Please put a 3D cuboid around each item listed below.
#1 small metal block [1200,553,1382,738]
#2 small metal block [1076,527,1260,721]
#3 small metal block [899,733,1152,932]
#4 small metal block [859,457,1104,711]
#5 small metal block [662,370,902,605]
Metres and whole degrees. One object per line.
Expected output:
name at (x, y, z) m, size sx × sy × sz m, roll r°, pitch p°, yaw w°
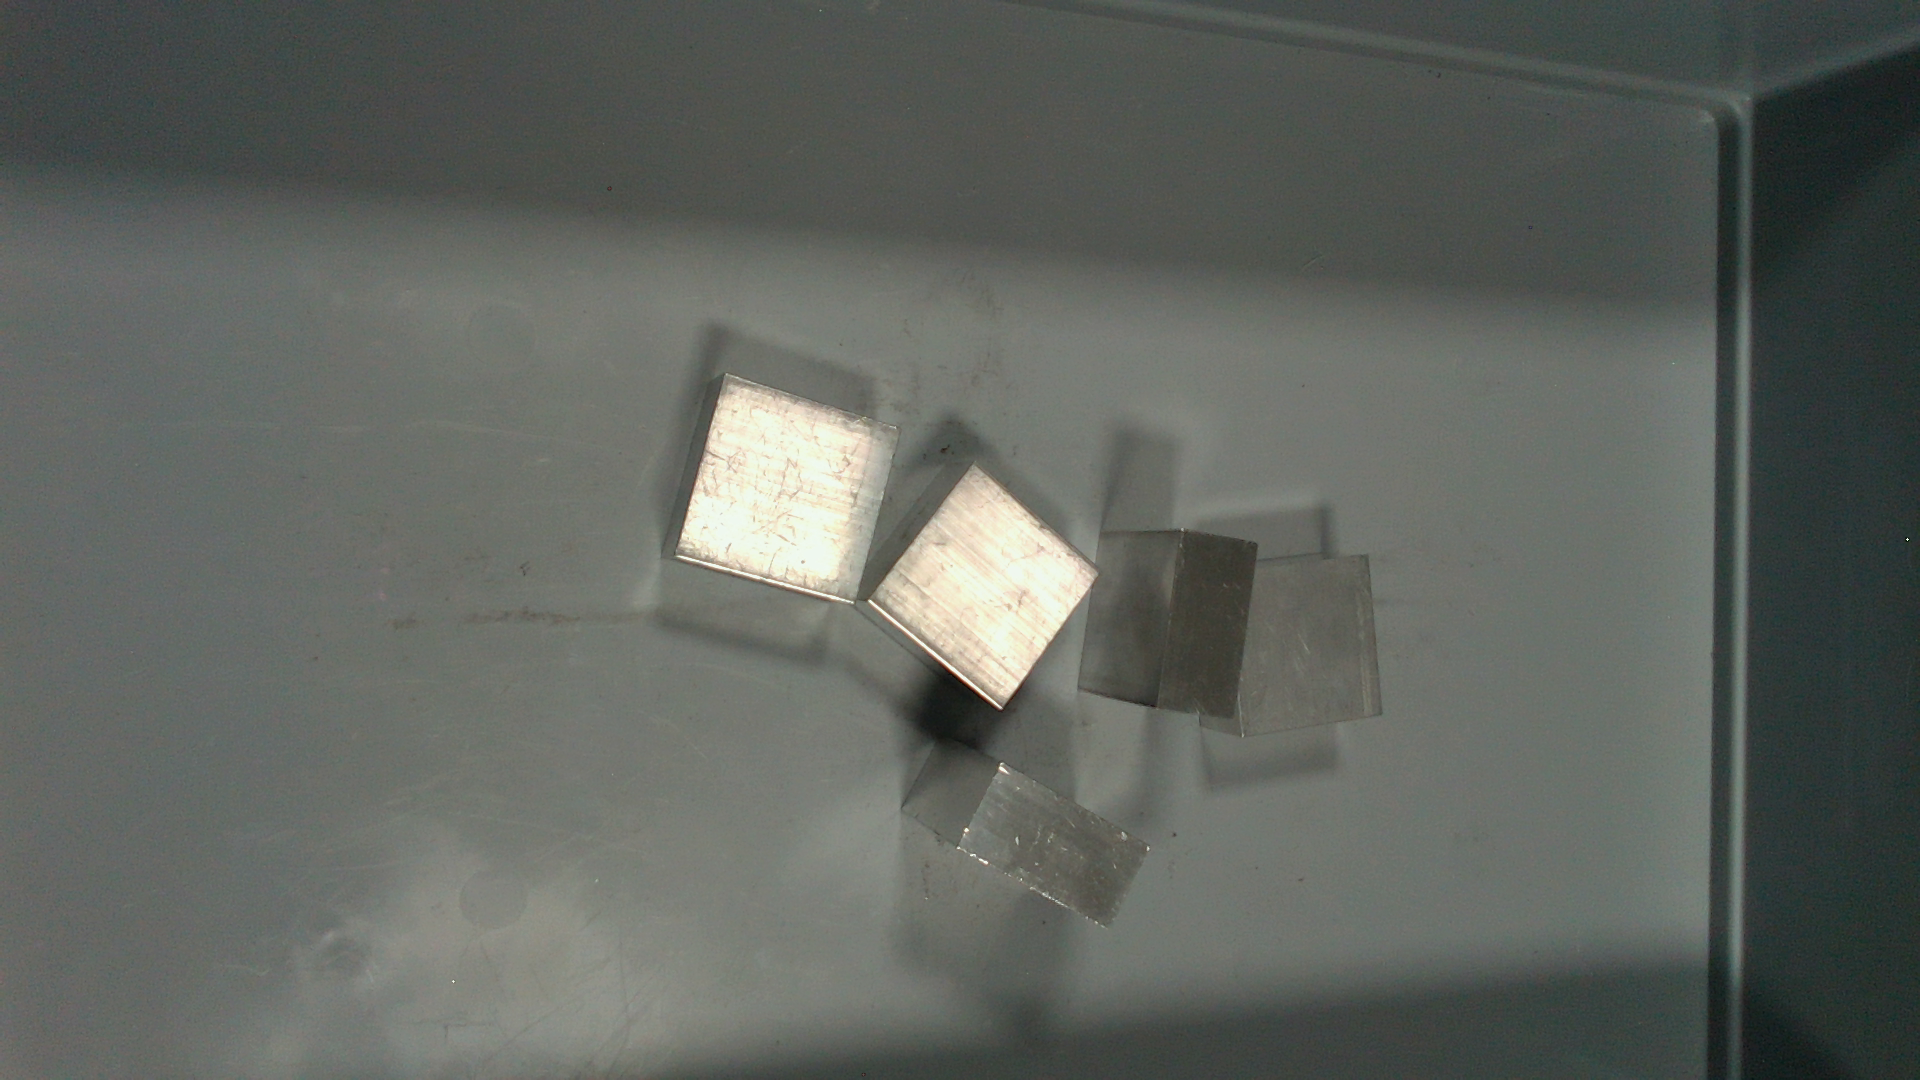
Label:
small metal block at (0.101, 0.031, 0.428) m, size 0.050 × 0.025 × 0.050 m, roll -6°, pitch 92°, yaw -20°
small metal block at (0.059, 0.023, 0.401) m, size 0.025 × 0.050 × 0.050 m, roll 10°, pitch 87°, yaw -20°
small metal block at (0.017, 0.081, 0.384) m, size 0.050 × 0.050 × 0.025 m, roll 32°, pitch 81°, yaw -18°
small metal block at (0.004, 0.012, 0.392) m, size 0.050 × 0.025 × 0.050 m, roll 40°, pitch 77°, yaw -16°
small metal block at (-0.049, -0.013, 0.373) m, size 0.050 × 0.025 × 0.050 m, roll 16°, pitch 85°, yaw -19°
